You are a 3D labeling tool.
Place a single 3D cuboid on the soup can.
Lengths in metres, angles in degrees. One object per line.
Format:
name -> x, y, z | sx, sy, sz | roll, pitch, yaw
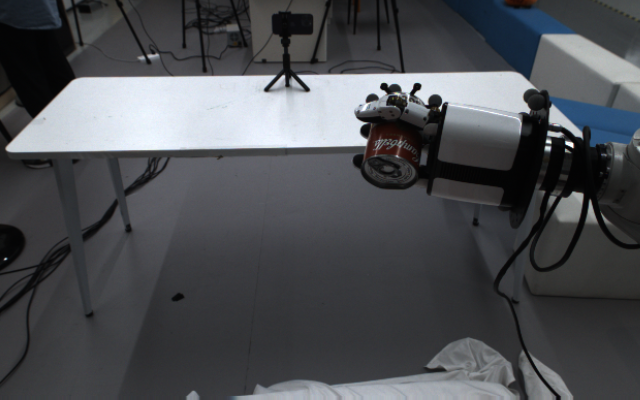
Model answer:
soup can -> 0.092, -0.073, 0.586 | 0.067, 0.067, 0.101 | 9, 58, 10
